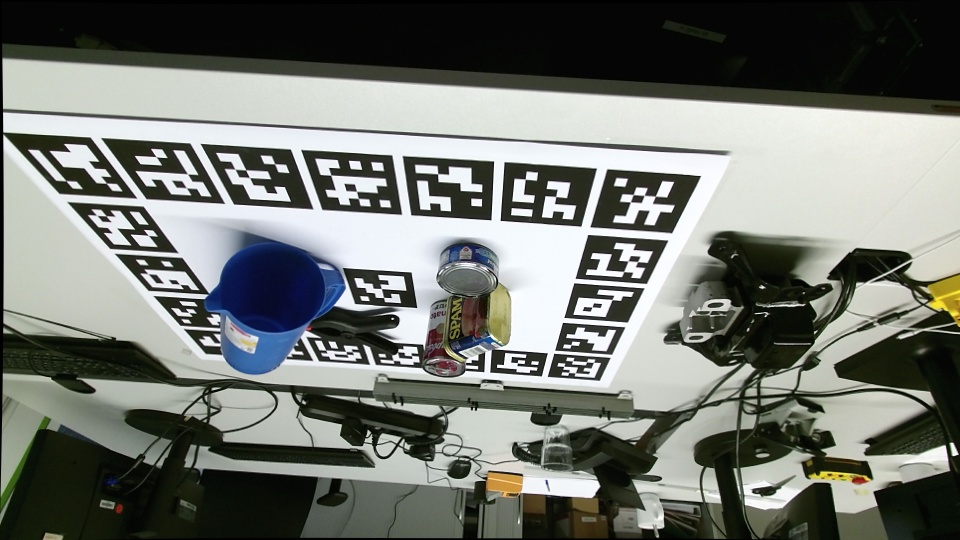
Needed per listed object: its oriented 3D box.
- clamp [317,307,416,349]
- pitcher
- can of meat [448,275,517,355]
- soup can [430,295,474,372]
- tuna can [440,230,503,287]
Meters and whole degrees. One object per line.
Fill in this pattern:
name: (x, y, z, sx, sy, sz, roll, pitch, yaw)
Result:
clamp: (-0.196, 0.094, 0.921, 0.166, 0.036, 0.122, 7, 147, 3)
pitcher: (-0.312, 0.069, 0.800, 0.189, 0.132, 0.243, -3, 156, -27)
can of meat: (0.005, 0.064, 0.785, 0.084, 0.101, 0.058, -24, 133, 27)
soup can: (-0.042, 0.099, 0.844, 0.068, 0.101, 0.068, 1, 141, 1)
tuna can: (-0.011, -0.015, 0.743, 0.086, 0.033, 0.086, 3, 141, 2)
